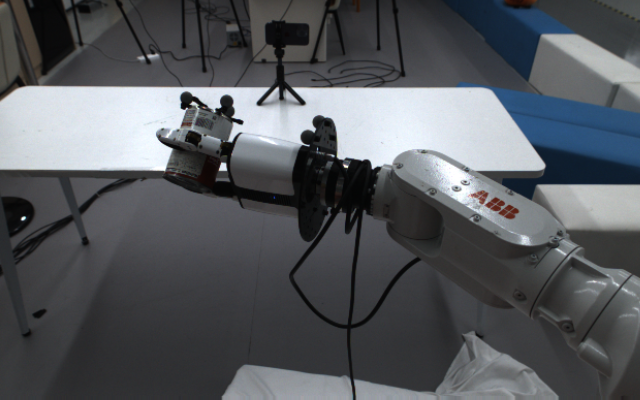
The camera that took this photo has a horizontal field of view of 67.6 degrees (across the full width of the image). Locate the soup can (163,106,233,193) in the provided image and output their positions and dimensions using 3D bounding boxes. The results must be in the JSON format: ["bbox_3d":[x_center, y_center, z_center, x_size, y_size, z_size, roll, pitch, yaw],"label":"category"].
[{"bbox_3d":[-0.165,-0.067,0.657,0.067,0.067,0.101,12,77,14],"label":"soup can"}]
